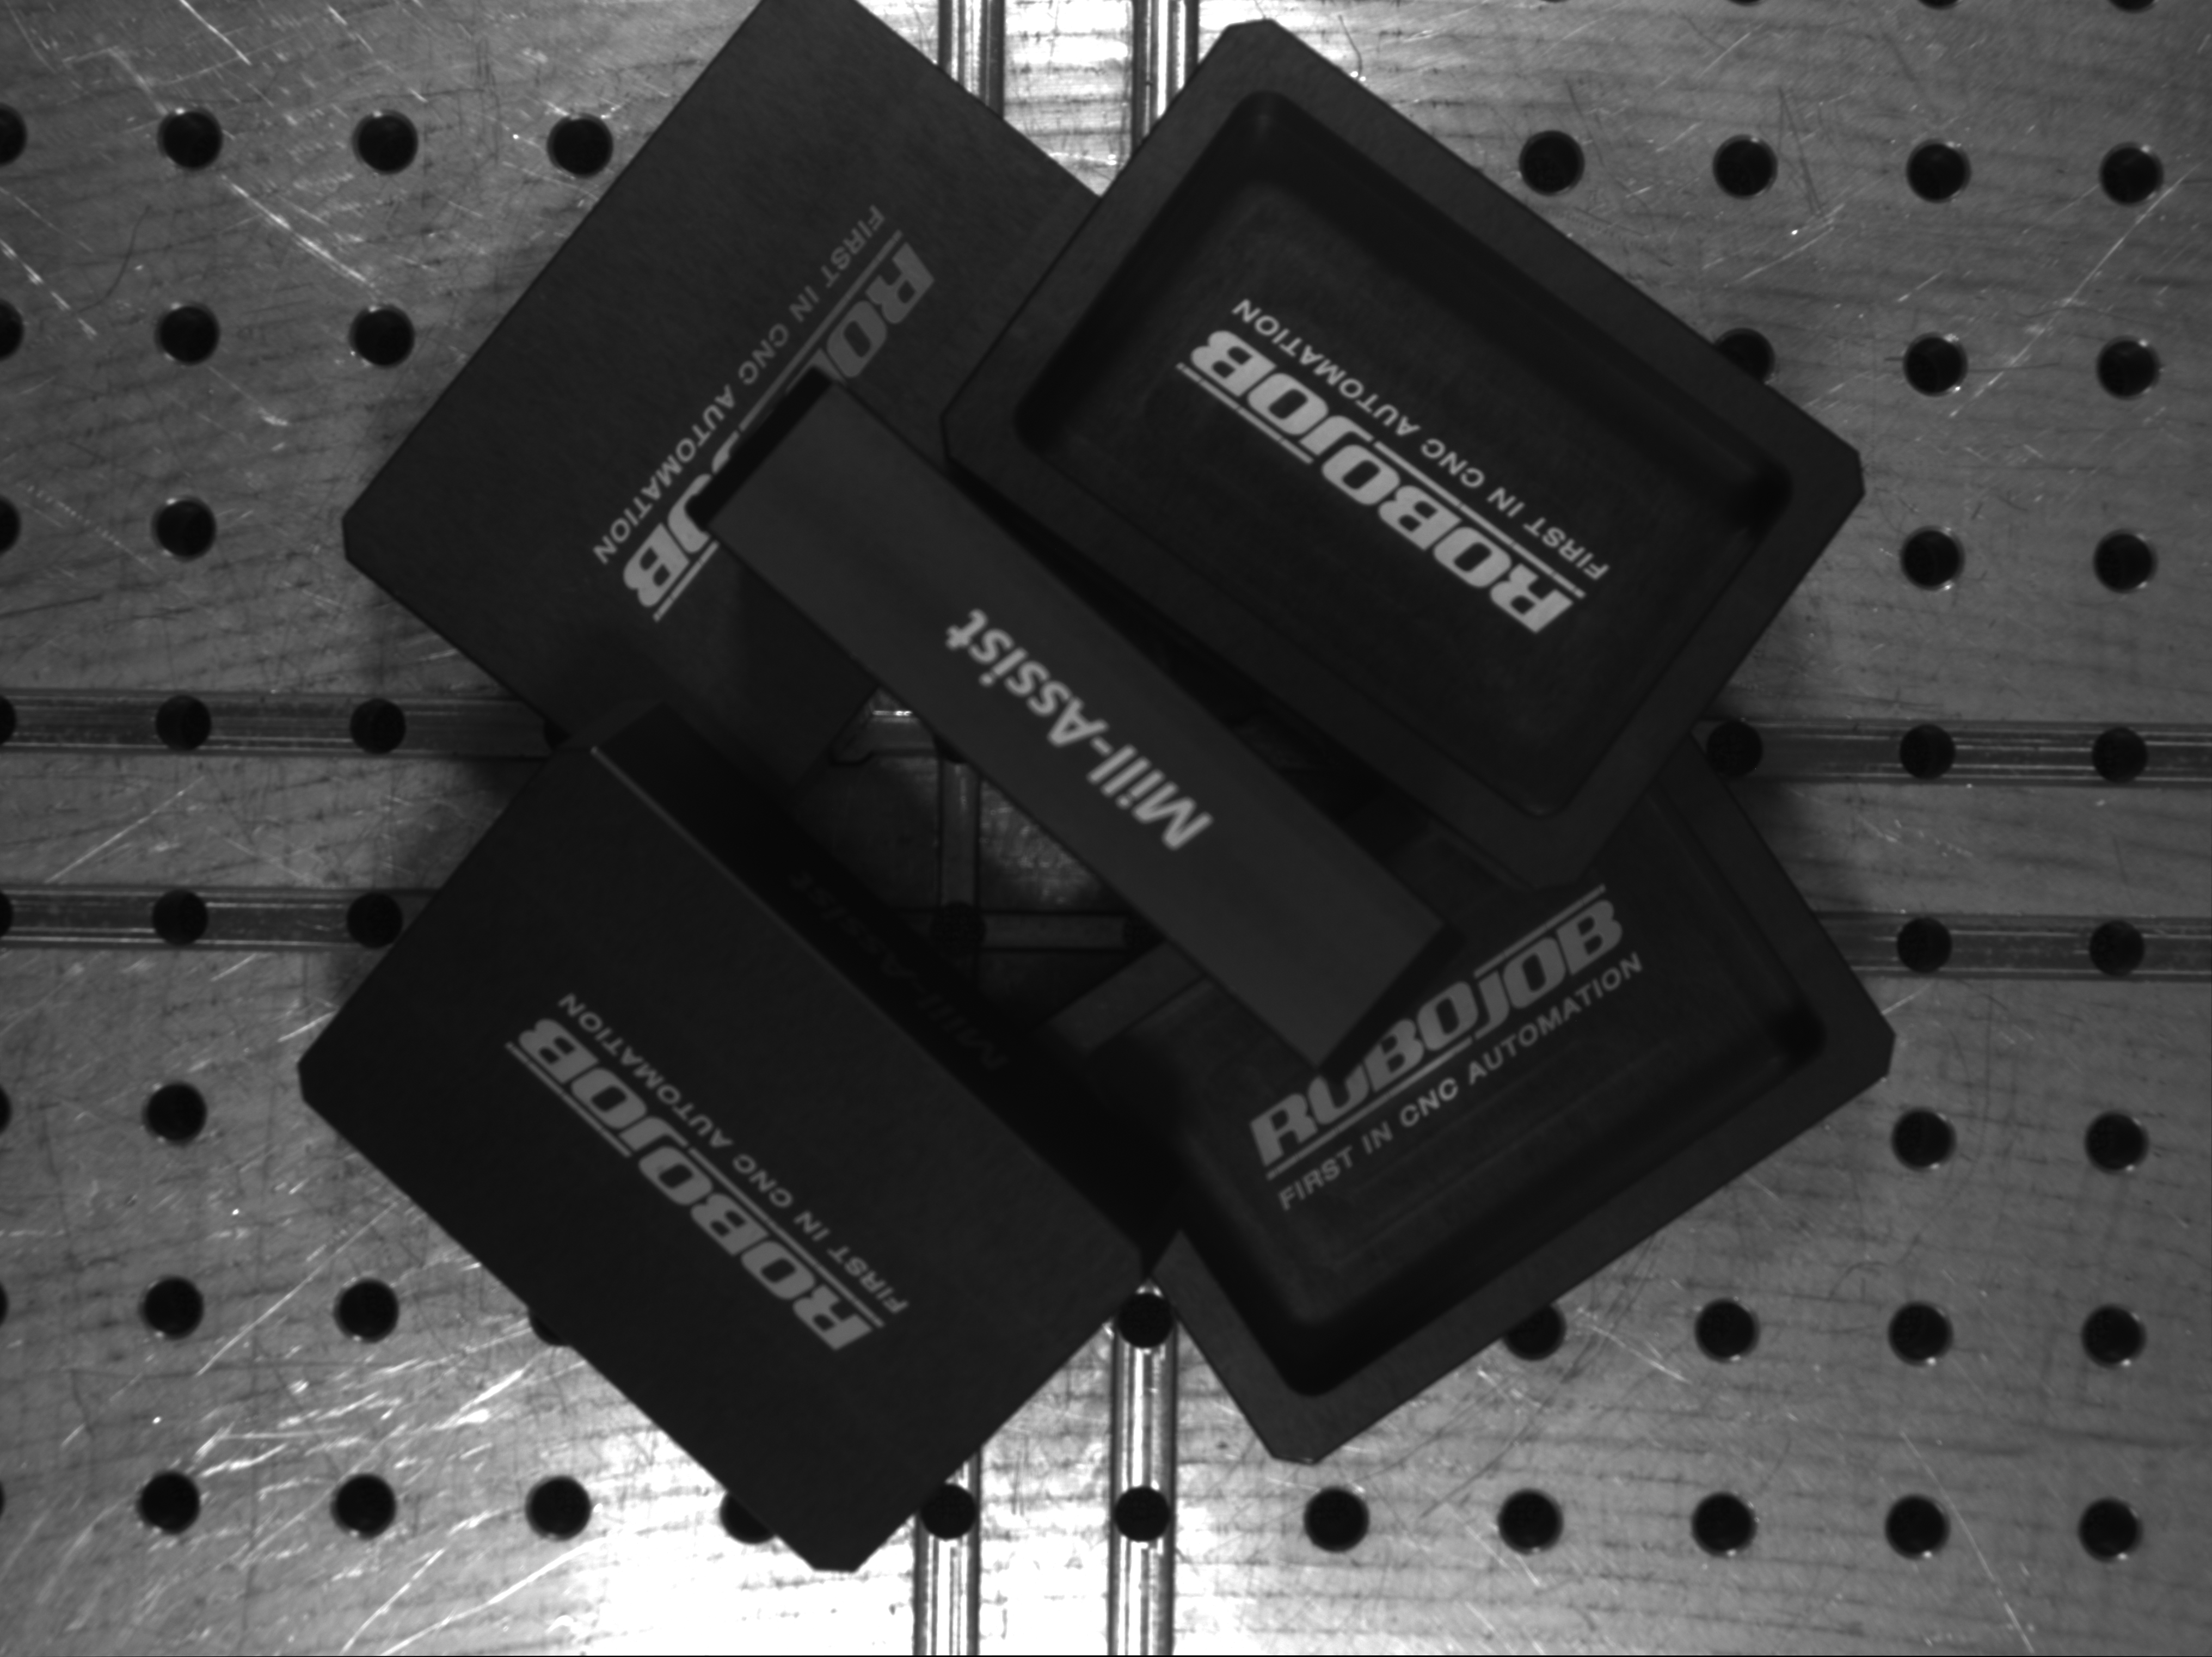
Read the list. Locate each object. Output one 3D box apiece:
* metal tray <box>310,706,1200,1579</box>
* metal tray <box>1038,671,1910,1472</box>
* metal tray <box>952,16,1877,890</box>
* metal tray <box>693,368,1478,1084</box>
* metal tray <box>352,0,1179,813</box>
[{"bbox_3d":[-0.060,0.054,0.626,0.130,0.030,0.090,42,115,0],"label":"metal tray"},{"bbox_3d":[0.062,0.040,0.644,0.130,0.030,0.090,-34,90,0],"label":"metal tray"},{"bbox_3d":[0.051,-0.062,0.615,0.130,0.030,0.090,36,90,0],"label":"metal tray"},{"bbox_3d":[-0.003,-0.015,0.584,0.130,0.090,0.030,41,90,0],"label":"metal tray"},{"bbox_3d":[-0.057,-0.072,0.644,0.090,0.030,0.130,39,90,0],"label":"metal tray"}]
